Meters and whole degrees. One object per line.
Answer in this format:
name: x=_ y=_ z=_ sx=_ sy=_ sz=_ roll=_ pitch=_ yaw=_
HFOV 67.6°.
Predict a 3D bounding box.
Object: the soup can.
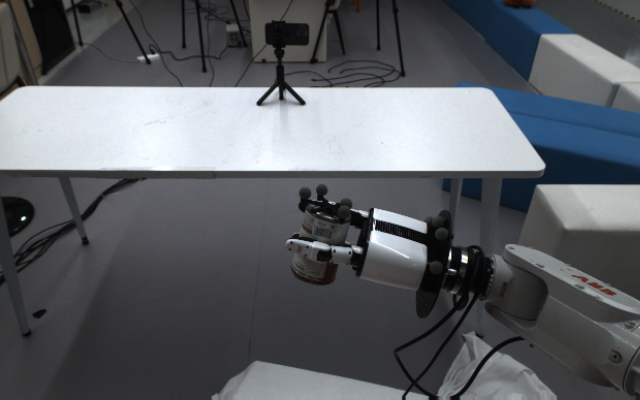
soup can: x=0.003 y=0.062 z=0.696 sx=0.067 sy=0.101 sz=0.067 roll=13 pitch=18 yaw=-4
